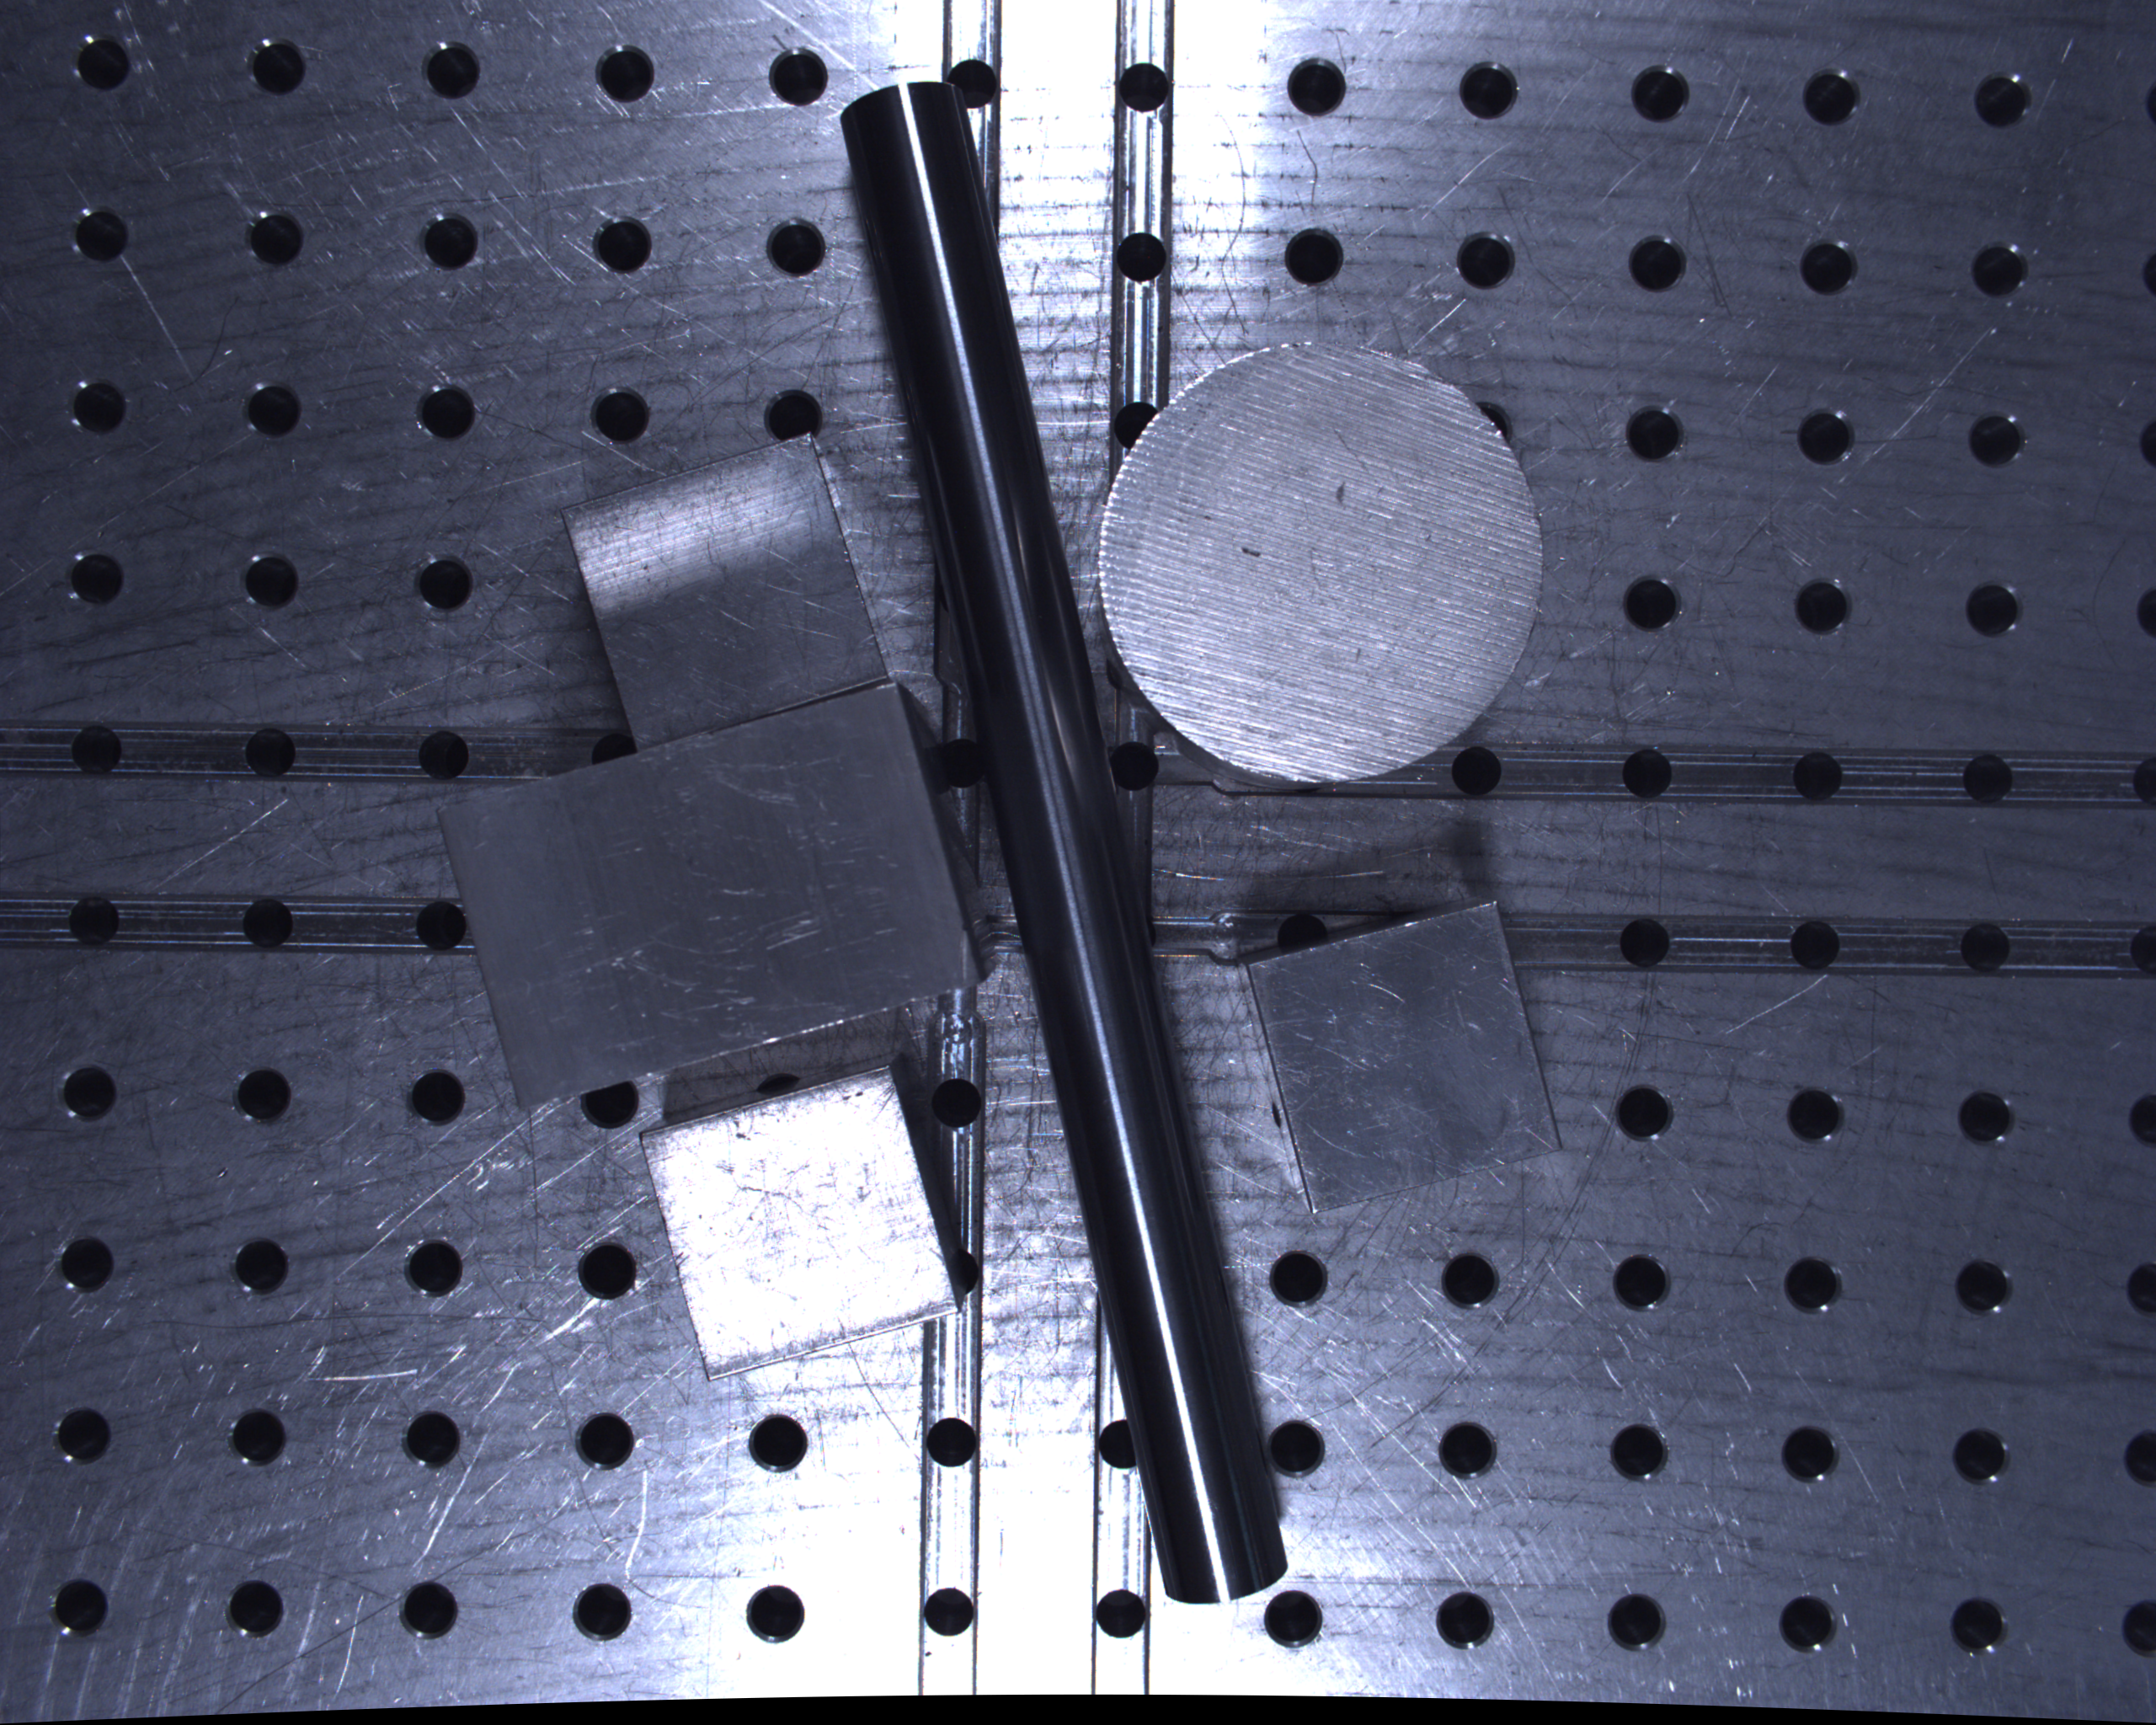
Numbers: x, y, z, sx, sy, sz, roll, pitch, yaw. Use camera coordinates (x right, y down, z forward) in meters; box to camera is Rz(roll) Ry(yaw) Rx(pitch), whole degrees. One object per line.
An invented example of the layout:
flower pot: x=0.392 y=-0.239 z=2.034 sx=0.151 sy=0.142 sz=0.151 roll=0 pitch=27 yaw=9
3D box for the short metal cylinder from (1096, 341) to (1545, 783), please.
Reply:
short metal cylinder: x=0.044 y=-0.055 z=0.401 sx=0.081 sy=0.050 sz=0.079 roll=0 pitch=90 yaw=-1

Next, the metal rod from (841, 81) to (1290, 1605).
metal rod: x=-0.002 y=-0.004 z=0.413 sx=0.025 sy=0.025 sz=0.298 roll=-12 pitch=90 yaw=0

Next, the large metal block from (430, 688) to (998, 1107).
large metal block: x=-0.061 y=0.005 z=0.384 sx=0.080 sy=0.080 sz=0.050 roll=-15 pitch=90 yaw=0

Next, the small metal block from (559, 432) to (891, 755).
small metal block: x=-0.068 y=-0.052 z=0.412 sx=0.050 sy=0.025 sz=0.050 roll=-17 pitch=90 yaw=-1

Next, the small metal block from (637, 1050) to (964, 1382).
small metal block: x=-0.054 y=0.069 z=0.413 sx=0.050 sy=0.025 sz=0.050 roll=-16 pitch=90 yaw=-1

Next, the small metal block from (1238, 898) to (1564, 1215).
small metal block: x=0.063 y=0.037 z=0.414 sx=0.050 sy=0.025 sz=0.050 roll=-15 pitch=90 yaw=-1
